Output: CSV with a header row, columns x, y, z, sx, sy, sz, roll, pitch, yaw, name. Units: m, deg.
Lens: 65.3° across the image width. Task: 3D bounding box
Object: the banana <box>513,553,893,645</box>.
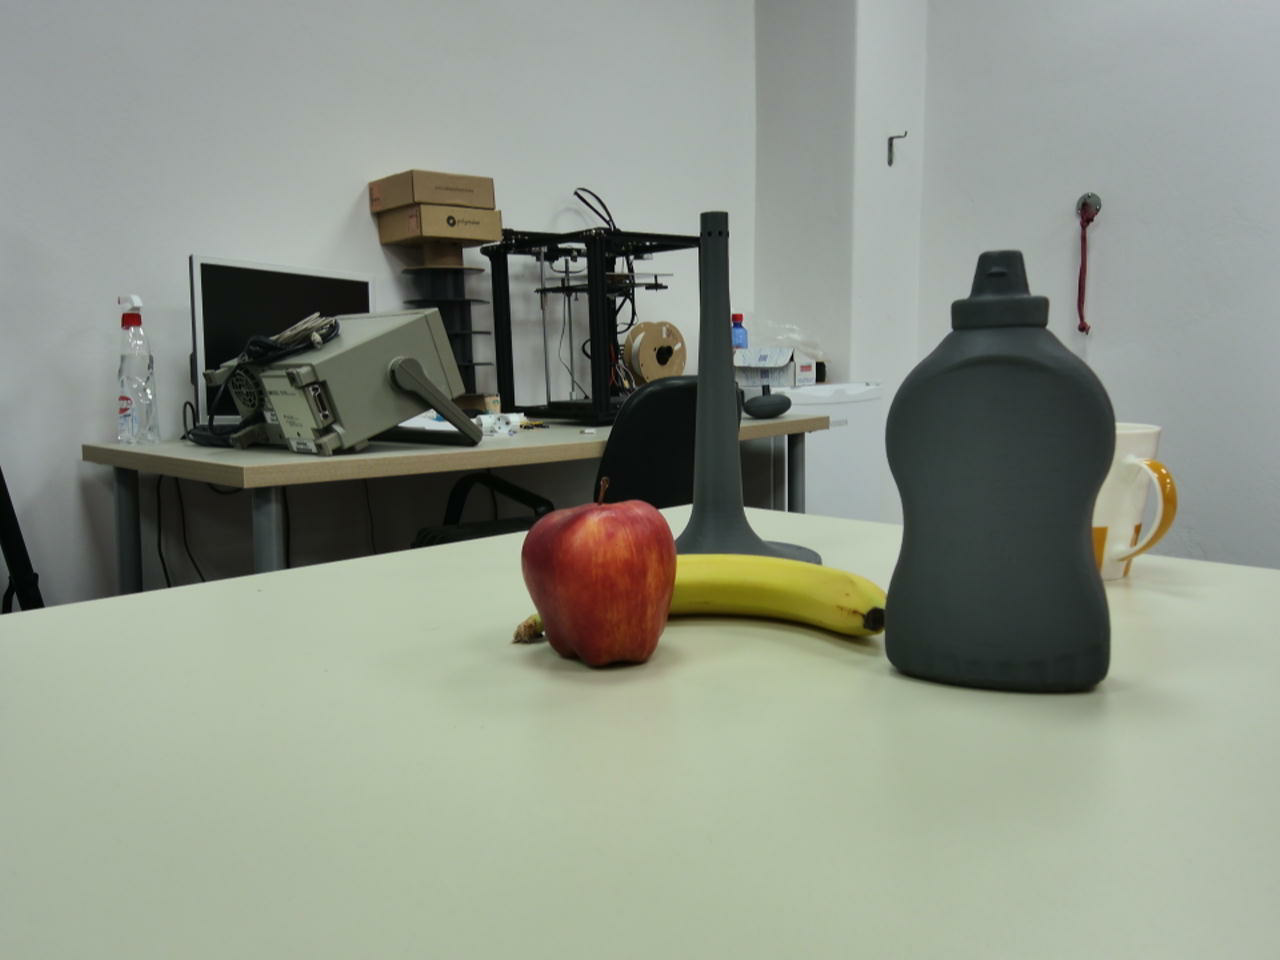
x,y,z,sx,sy,sz,roll,pitch,yaw,name
0.036,0.065,0.562,0.196,0.041,0.094,1,5,12,banana
